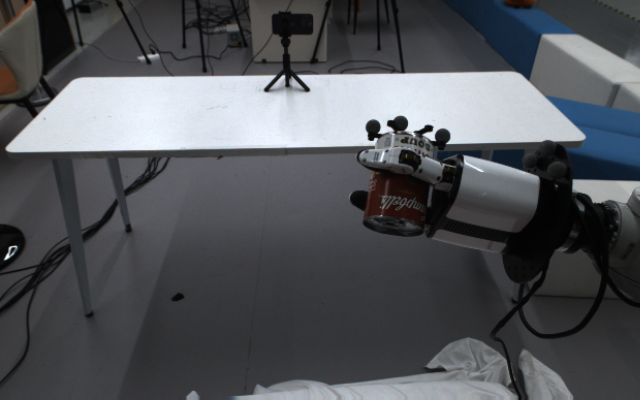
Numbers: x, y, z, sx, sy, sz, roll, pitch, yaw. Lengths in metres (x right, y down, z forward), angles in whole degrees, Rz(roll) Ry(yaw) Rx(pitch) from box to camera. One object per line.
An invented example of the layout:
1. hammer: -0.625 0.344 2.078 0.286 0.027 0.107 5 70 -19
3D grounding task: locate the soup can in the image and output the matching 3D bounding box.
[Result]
1. soup can: 0.090 -0.017 0.538 0.067 0.067 0.101 8 72 9
